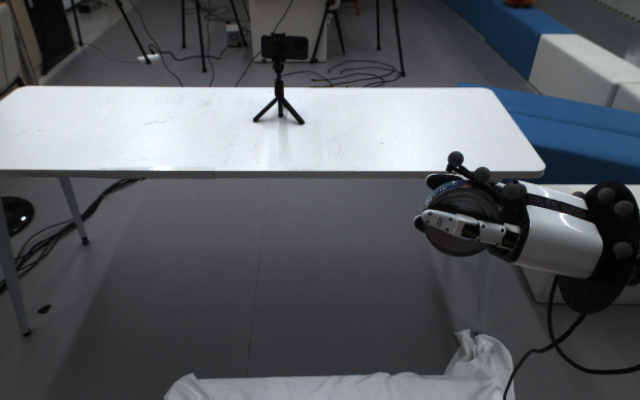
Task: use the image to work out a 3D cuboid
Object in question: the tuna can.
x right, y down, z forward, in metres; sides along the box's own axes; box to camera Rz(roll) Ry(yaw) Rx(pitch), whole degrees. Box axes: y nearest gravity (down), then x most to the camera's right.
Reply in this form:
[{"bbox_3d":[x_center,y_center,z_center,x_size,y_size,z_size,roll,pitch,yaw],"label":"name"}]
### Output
[{"bbox_3d":[0.166,0.020,0.568,0.085,0.085,0.034,7,16,6],"label":"tuna can"}]
